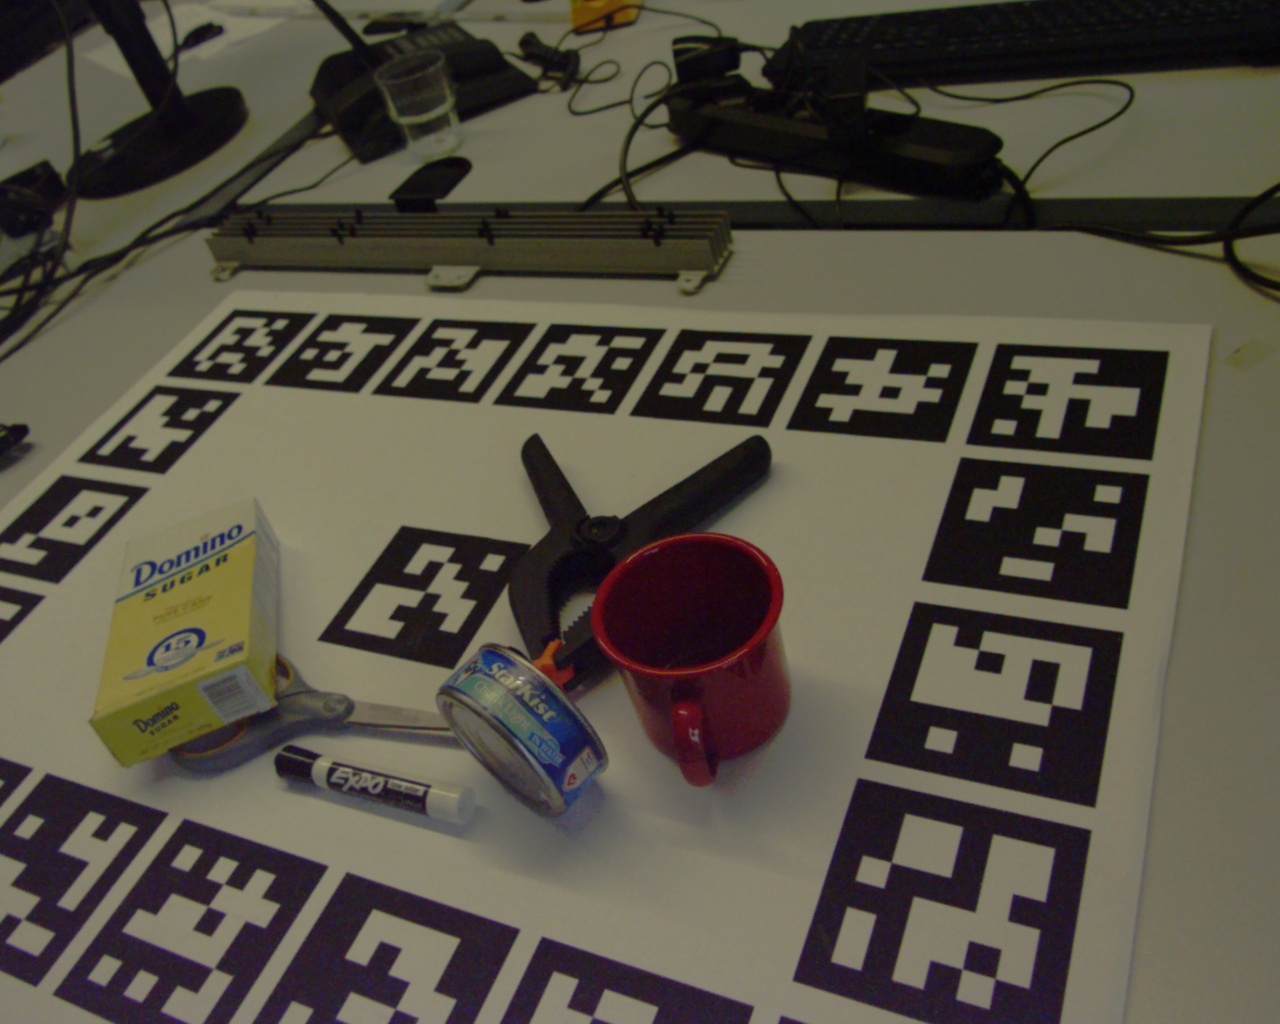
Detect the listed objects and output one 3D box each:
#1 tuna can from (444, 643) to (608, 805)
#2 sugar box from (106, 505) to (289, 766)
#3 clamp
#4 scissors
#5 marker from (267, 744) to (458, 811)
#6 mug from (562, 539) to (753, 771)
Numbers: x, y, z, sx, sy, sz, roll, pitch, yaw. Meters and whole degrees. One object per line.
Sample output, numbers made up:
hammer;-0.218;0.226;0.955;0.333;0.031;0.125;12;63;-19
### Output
tuna can;-0.060;0.110;0.586;0.087;0.085;0.033;23;56;36
sugar box;-0.275;0.071;0.726;0.093;0.045;0.178;-20;36;-1
clamp;-0.027;0.029;0.709;0.167;0.036;0.203;-1;46;18
scissors;-0.184;0.110;0.676;0.204;0.016;0.087;0;42;17
marker;-0.157;0.146;0.632;0.122;0.019;0.019;4;48;24
mug;0.015;0.082;0.595;0.093;0.081;0.118;-13;39;6
